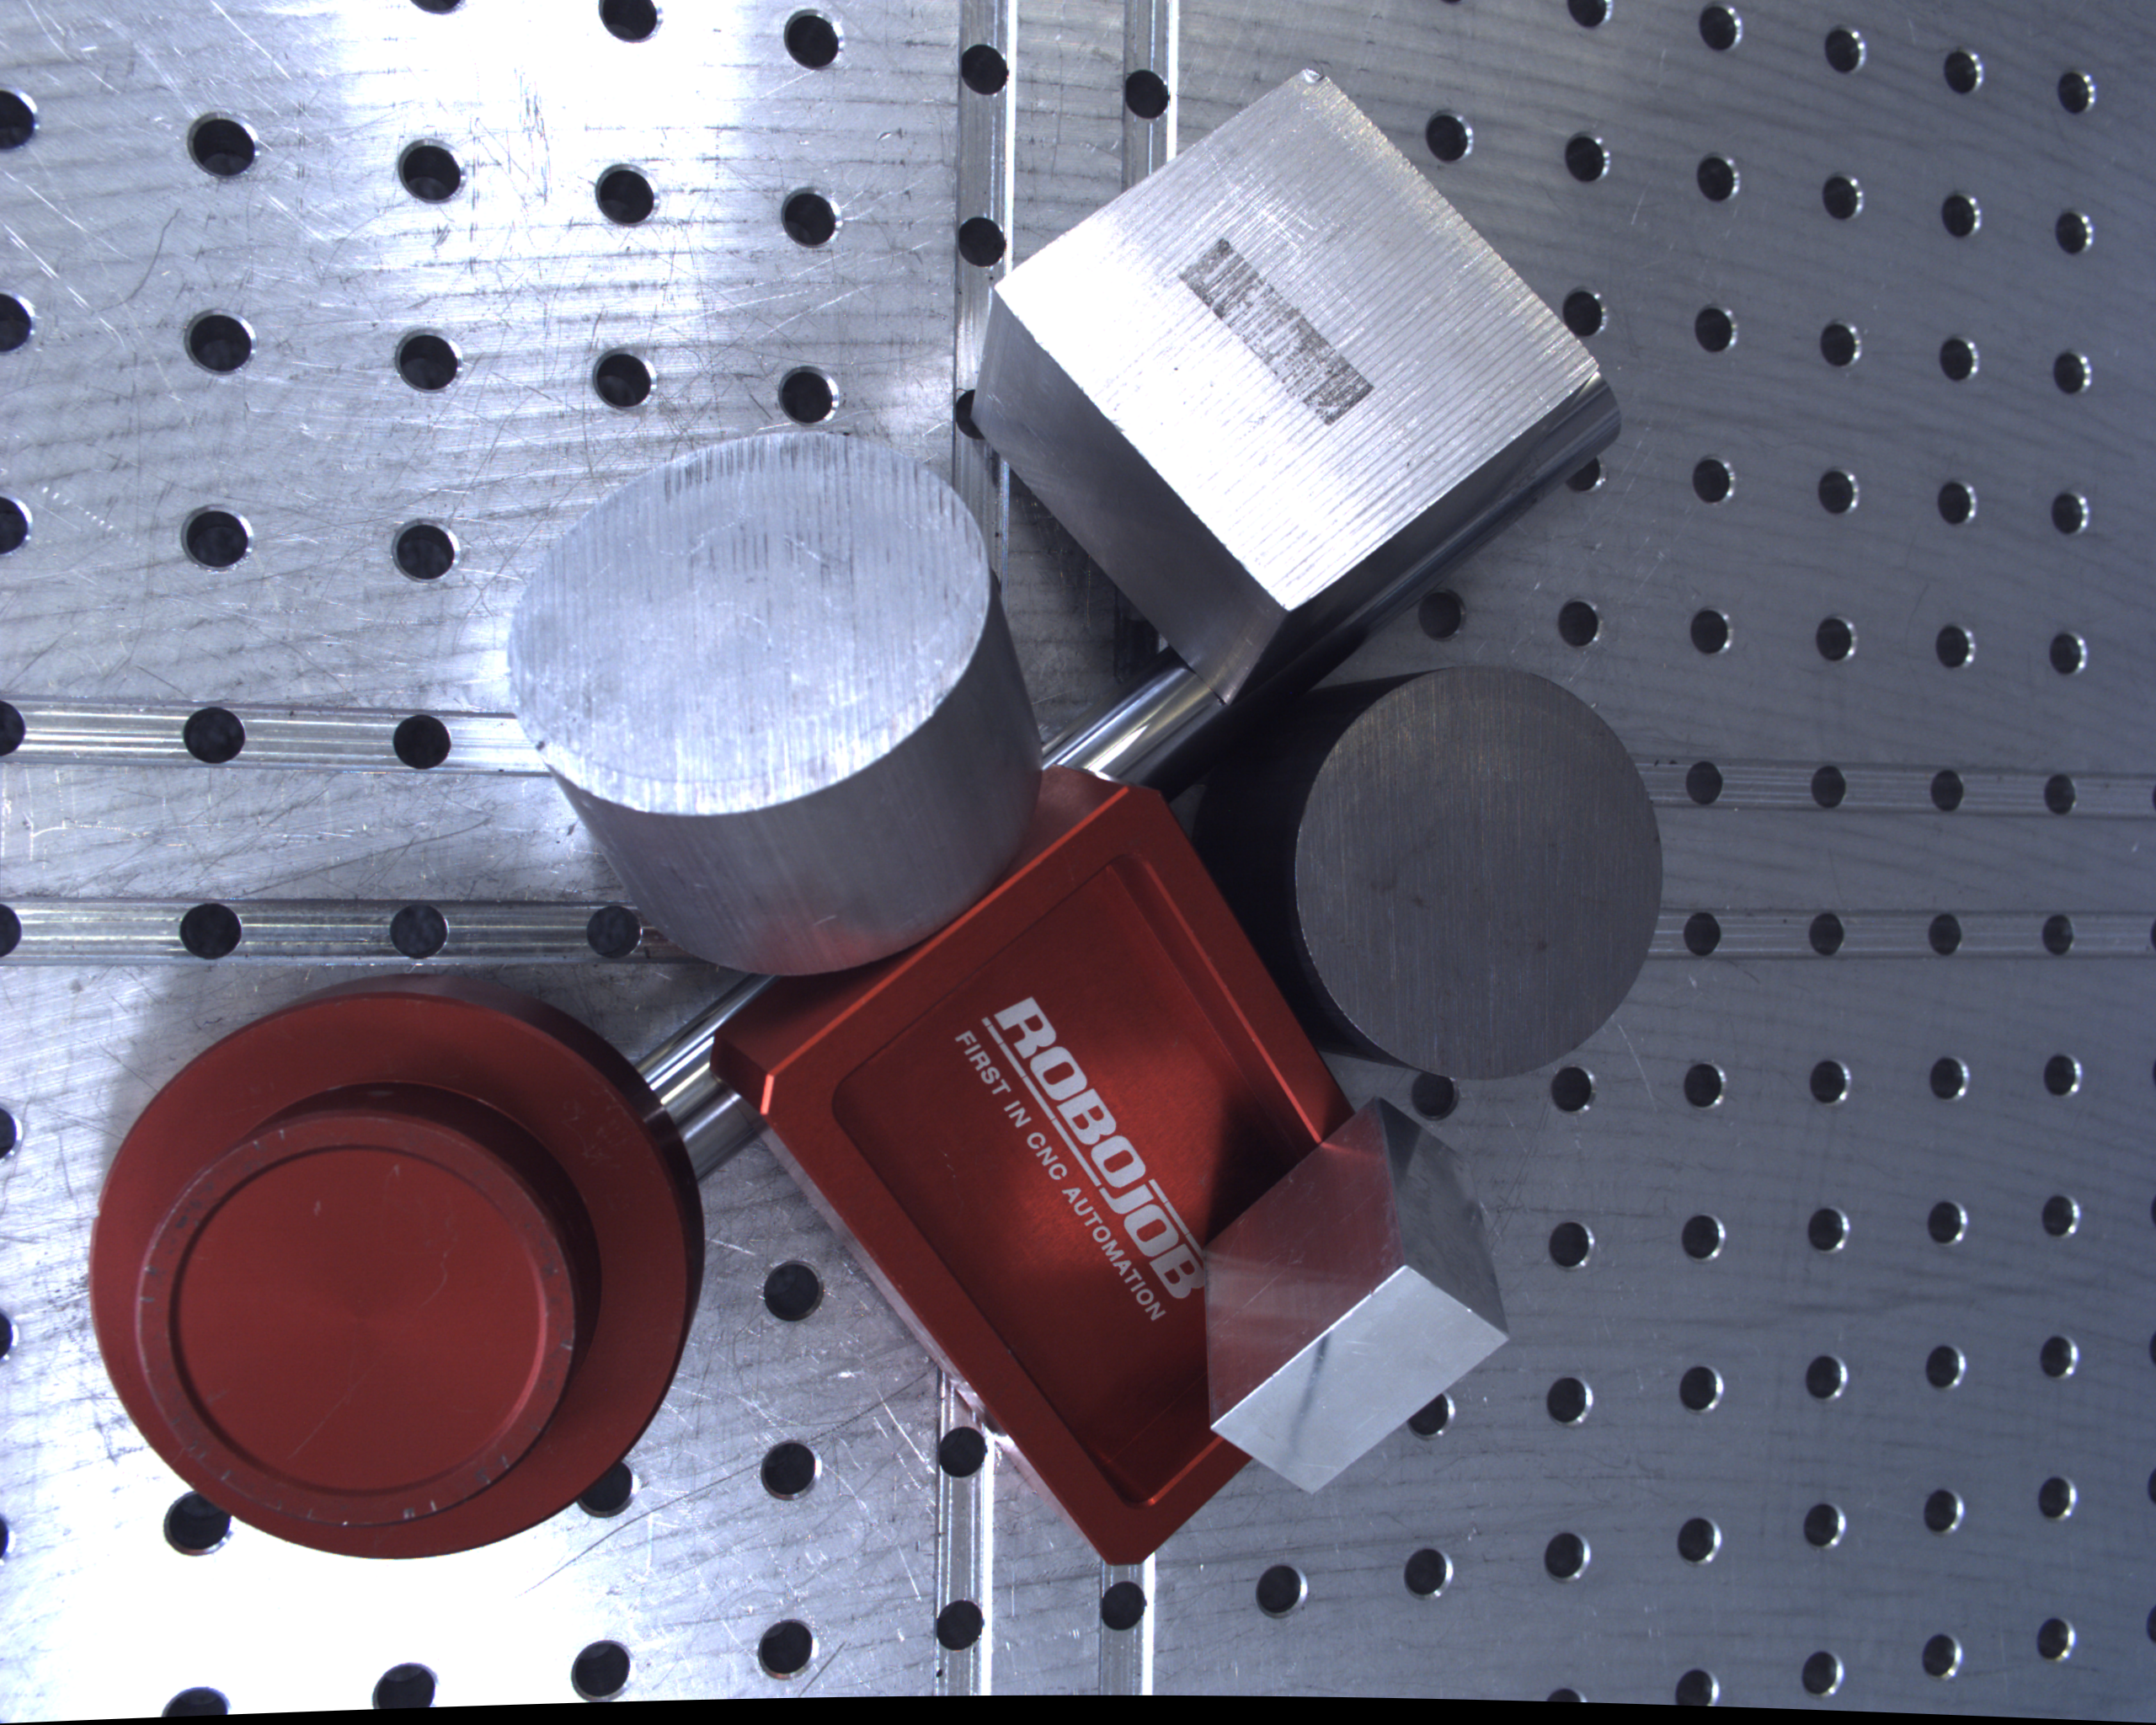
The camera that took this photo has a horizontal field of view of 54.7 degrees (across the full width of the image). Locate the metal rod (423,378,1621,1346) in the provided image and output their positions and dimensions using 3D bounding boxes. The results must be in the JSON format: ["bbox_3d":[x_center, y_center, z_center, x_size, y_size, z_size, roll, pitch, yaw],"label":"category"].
[{"bbox_3d":[-0.005,-0.009,0.412,0.301,0.025,0.025,-39,103,-15],"label":"metal rod"}]

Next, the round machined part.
[{"bbox_3d":[-0.114,0.070,0.348,0.099,0.042,0.097,-1,96,-5],"label":"round machined part"}]

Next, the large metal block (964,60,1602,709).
[{"bbox_3d":[0.037,-0.090,0.400,0.080,0.050,0.080,-39,83,-16],"label":"large metal block"}]

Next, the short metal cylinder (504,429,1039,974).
[{"bbox_3d":[-0.050,-0.028,0.359,0.080,0.050,0.080,-5,57,7],"label":"short metal cylinder"}]

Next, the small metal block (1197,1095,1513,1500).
[{"bbox_3d":[0.049,0.080,0.387,0.025,0.050,0.050,37,113,-19],"label":"small metal block"}]

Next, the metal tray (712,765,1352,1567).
[{"bbox_3d":[0.004,0.058,0.396,0.090,0.030,0.130,-39,115,-15],"label":"metal tray"}]

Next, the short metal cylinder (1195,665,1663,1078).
[{"bbox_3d":[0.070,0.002,0.424,0.081,0.050,0.079,0,90,-20],"label":"short metal cylinder"}]
